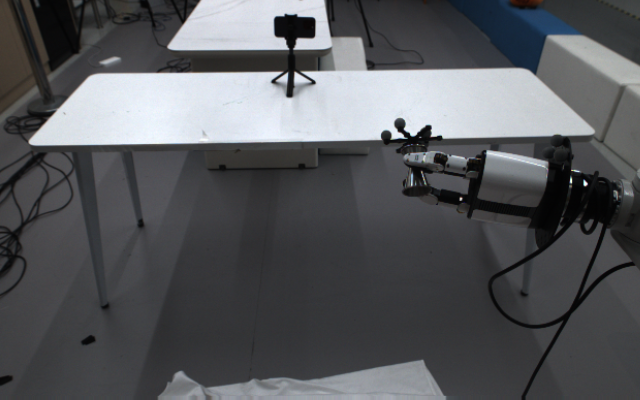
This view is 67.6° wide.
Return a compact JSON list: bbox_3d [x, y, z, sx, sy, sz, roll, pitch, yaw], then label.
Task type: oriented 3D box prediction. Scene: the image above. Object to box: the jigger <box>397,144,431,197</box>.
[{"bbox_3d":[0.141,-0.047,0.718,0.043,0.043,0.071,1,70,-2],"label":"jigger"}]
